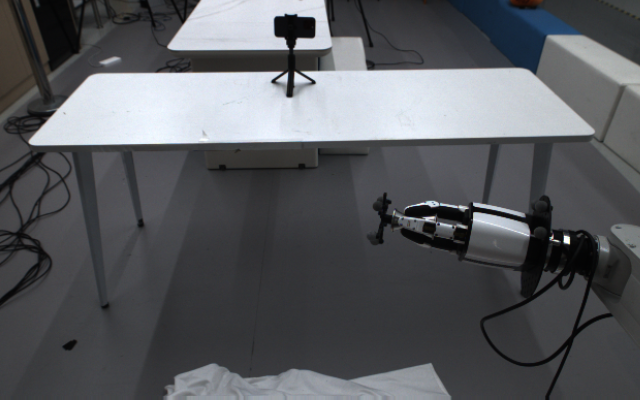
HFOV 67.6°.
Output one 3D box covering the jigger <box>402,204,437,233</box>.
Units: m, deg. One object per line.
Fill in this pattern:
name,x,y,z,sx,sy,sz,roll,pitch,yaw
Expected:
jigger,0.158,0.033,0.781,0.071,0.043,0.043,8,35,16
